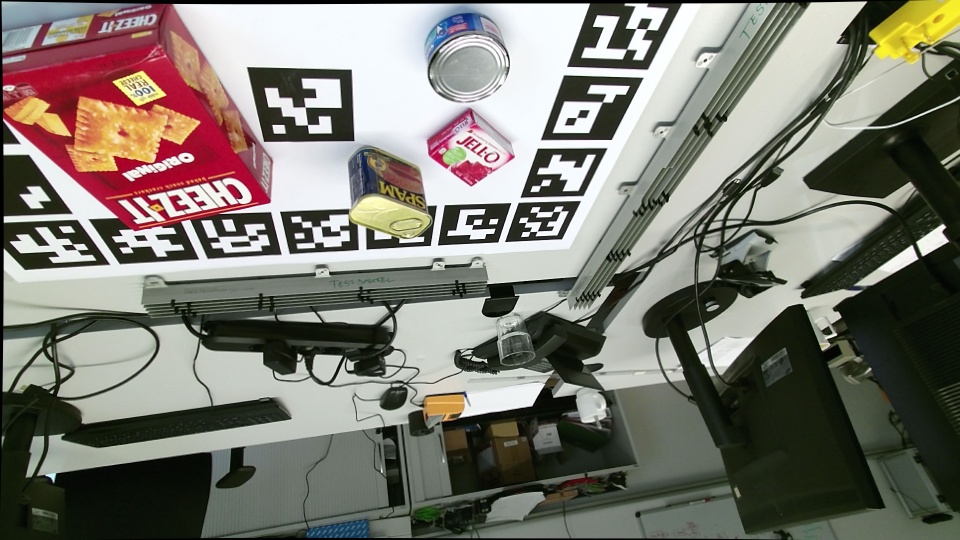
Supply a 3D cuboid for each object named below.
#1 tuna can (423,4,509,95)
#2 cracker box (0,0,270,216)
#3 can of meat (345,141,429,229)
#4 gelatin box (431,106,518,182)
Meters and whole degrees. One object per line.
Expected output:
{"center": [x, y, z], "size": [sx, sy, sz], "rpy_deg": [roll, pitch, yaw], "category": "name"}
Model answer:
{"center": [-0.015, -0.227, 0.556], "size": [0.086, 0.033, 0.086], "rpy_deg": [-10, 147, -7], "category": "tuna can"}
{"center": [-0.340, -0.151, 0.544], "size": [0.165, 0.071, 0.214], "rpy_deg": [-11, 151, 1], "category": "cracker box"}
{"center": [-0.121, -0.109, 0.687], "size": [0.102, 0.083, 0.058], "rpy_deg": [14, 141, -39], "category": "can of meat"}
{"center": [-0.007, -0.157, 0.685], "size": [0.073, 0.030, 0.090], "rpy_deg": [-27, 144, 29], "category": "gelatin box"}
